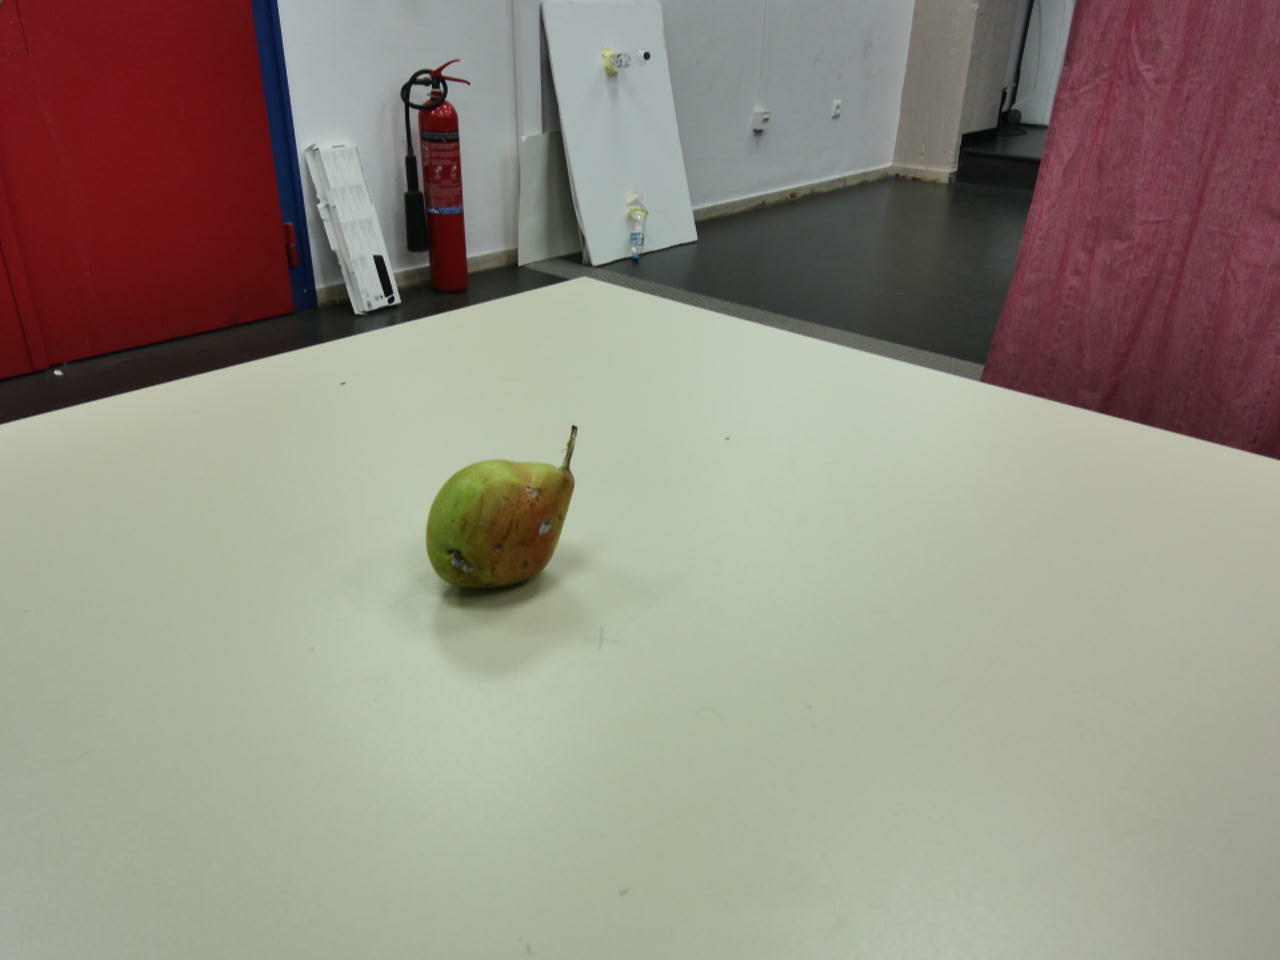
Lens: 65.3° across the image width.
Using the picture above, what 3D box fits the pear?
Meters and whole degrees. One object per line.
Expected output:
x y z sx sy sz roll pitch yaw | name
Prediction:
-0.068 0.017 0.489 0.070 0.069 0.068 1 25 2 | pear
